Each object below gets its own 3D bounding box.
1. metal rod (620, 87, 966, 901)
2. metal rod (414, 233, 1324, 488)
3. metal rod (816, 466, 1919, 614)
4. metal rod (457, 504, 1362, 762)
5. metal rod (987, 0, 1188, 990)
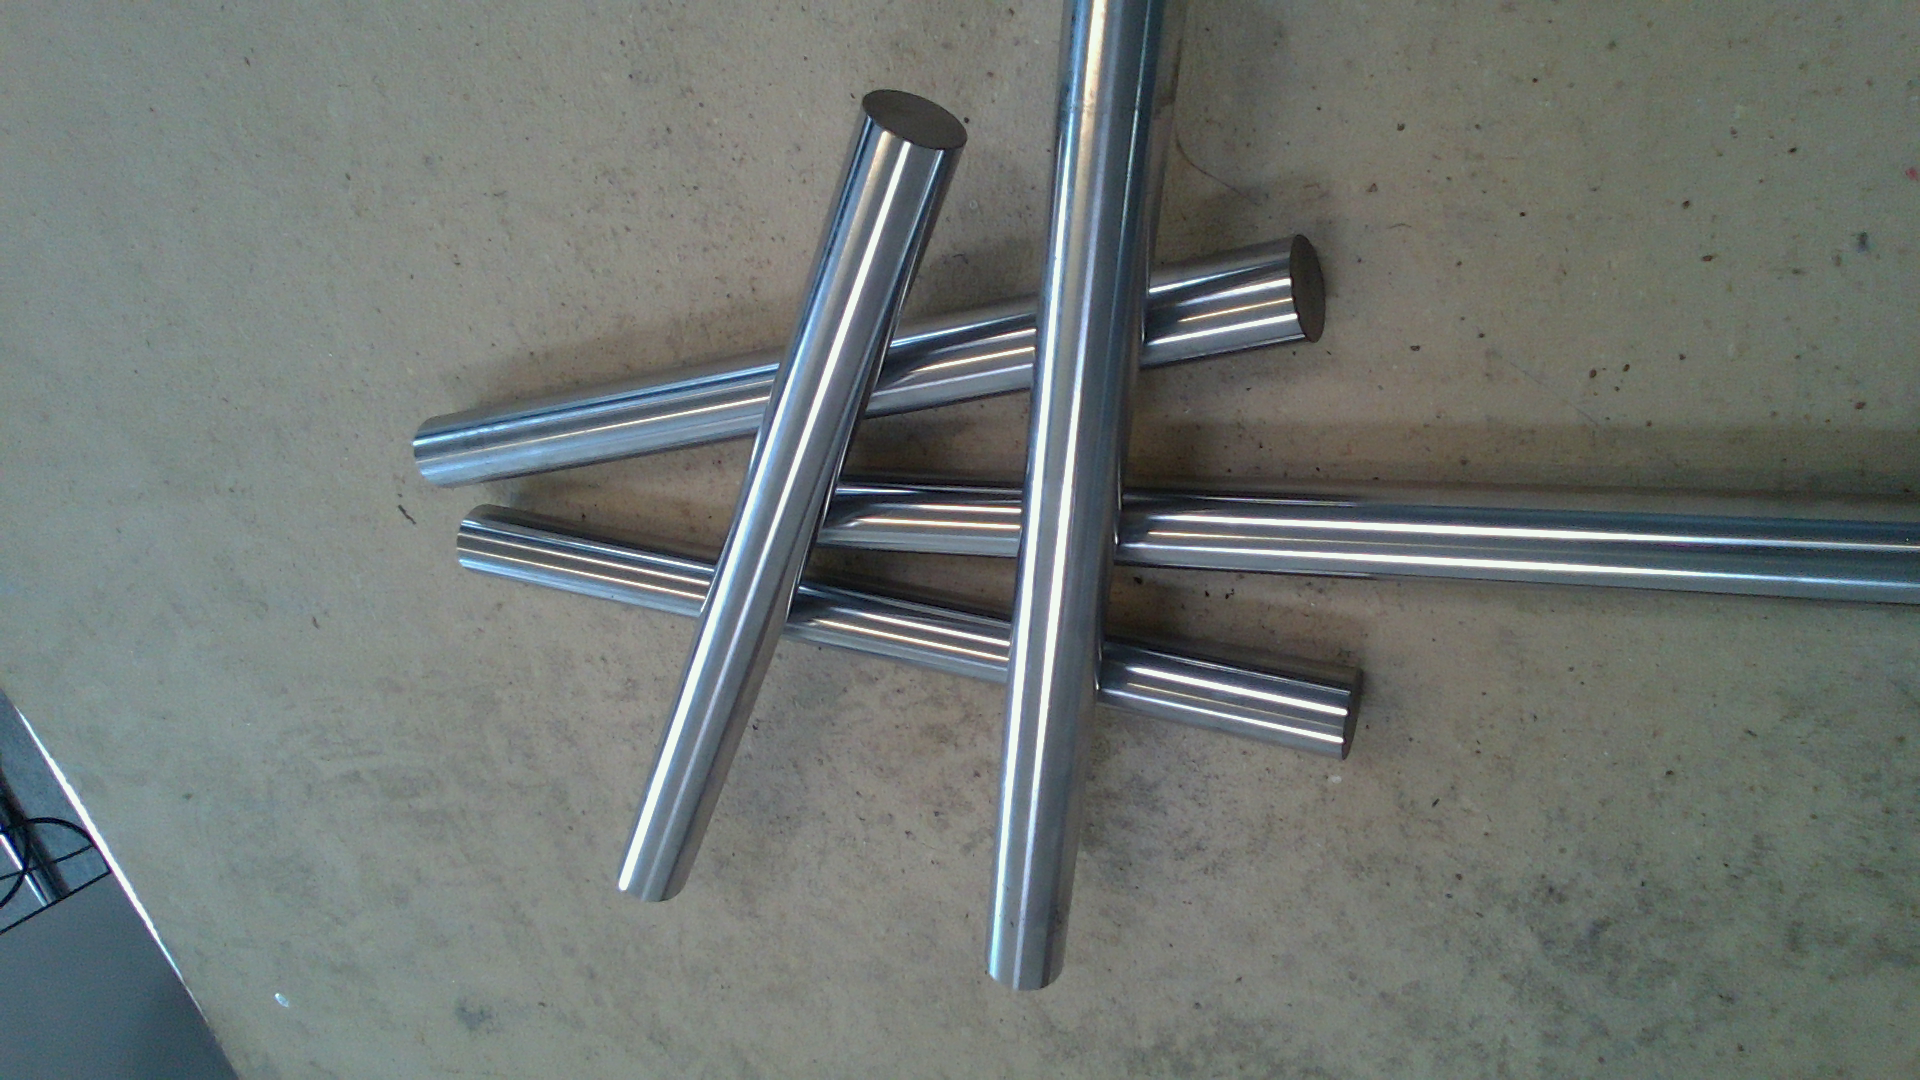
[{"bbox_3d":[-0.060,0.012,0.401,0.025,0.025,0.299,31,129,8],"label":"metal rod"},{"bbox_3d":[-0.048,-0.044,0.392,0.299,0.025,0.025,-6,115,31],"label":"metal rod"},{"bbox_3d":[0.076,-0.004,0.350,0.299,0.025,0.025,3,120,27],"label":"metal rod"},{"bbox_3d":[-0.031,0.023,0.424,0.299,0.025,0.025,10,123,23],"label":"metal rod"},{"bbox_3d":[0.027,0.005,0.350,0.025,0.025,0.300,16,125,19],"label":"metal rod"}]
